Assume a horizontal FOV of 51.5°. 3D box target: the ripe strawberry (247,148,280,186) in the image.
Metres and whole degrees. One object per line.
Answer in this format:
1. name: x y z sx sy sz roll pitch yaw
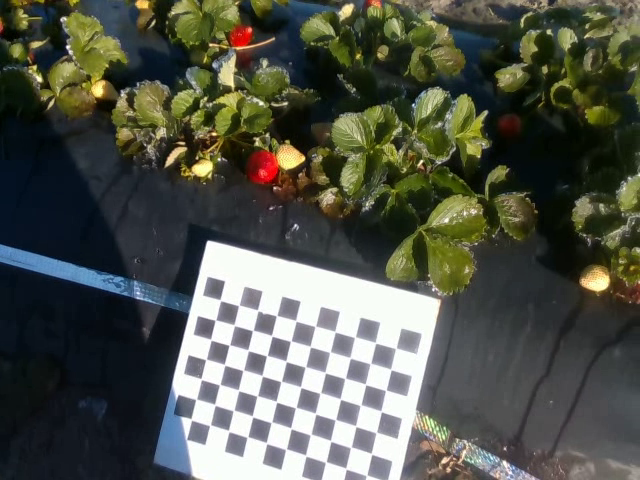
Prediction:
1. ripe strawberry: -0.063 -0.077 0.696 0.040 0.042 0.053 -22 20 3
